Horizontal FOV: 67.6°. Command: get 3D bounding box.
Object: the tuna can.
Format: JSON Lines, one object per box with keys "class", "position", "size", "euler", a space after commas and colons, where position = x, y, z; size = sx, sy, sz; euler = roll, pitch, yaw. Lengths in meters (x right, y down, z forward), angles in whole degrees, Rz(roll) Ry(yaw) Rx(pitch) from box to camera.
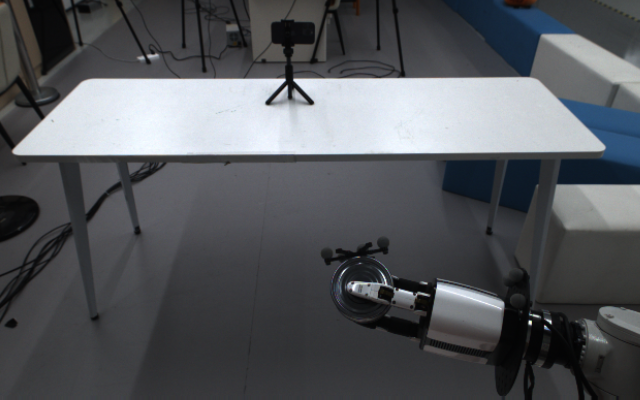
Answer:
{"class": "tuna can", "position": [0.060, 0.118, 0.648], "size": [0.085, 0.034, 0.085], "euler": [-4, 68, 9]}
